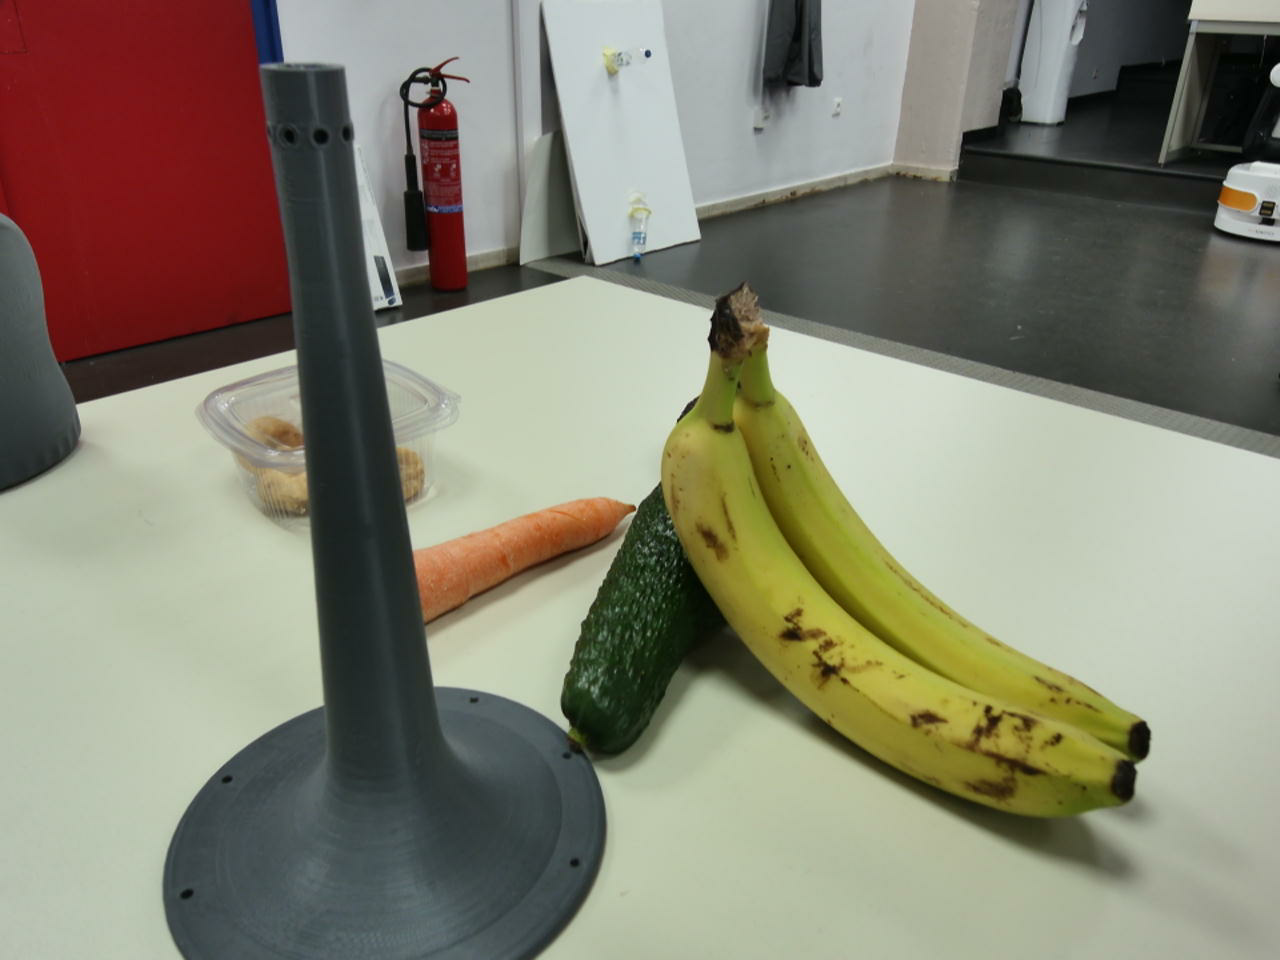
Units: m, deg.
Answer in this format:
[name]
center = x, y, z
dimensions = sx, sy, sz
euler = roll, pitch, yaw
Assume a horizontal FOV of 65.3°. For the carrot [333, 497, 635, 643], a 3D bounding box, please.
[carrot]
center = -0.073, 0.035, 0.526
dimensions = 0.039, 0.041, 0.196
euler = 21, 32, 37
